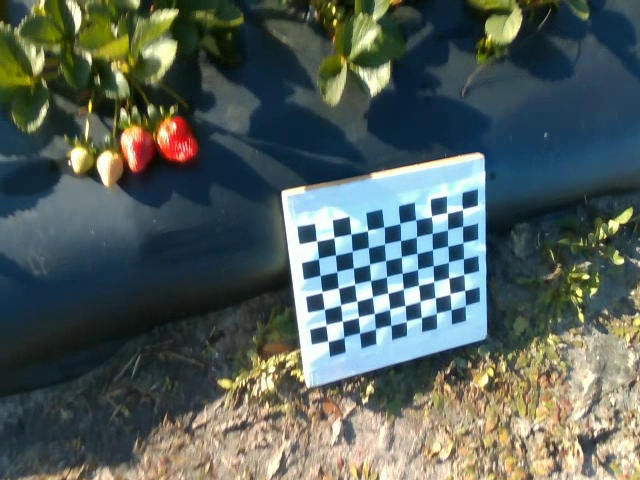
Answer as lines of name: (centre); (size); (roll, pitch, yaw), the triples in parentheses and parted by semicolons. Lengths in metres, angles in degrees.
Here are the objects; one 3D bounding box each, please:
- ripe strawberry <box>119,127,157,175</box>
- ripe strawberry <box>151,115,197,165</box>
ripe strawberry: (-0.219, -0.103, 0.880); (0.050, 0.061, 0.043); (13, -35, -27)
ripe strawberry: (-0.167, -0.114, 0.892); (0.067, 0.057, 0.051); (33, 2, 27)
